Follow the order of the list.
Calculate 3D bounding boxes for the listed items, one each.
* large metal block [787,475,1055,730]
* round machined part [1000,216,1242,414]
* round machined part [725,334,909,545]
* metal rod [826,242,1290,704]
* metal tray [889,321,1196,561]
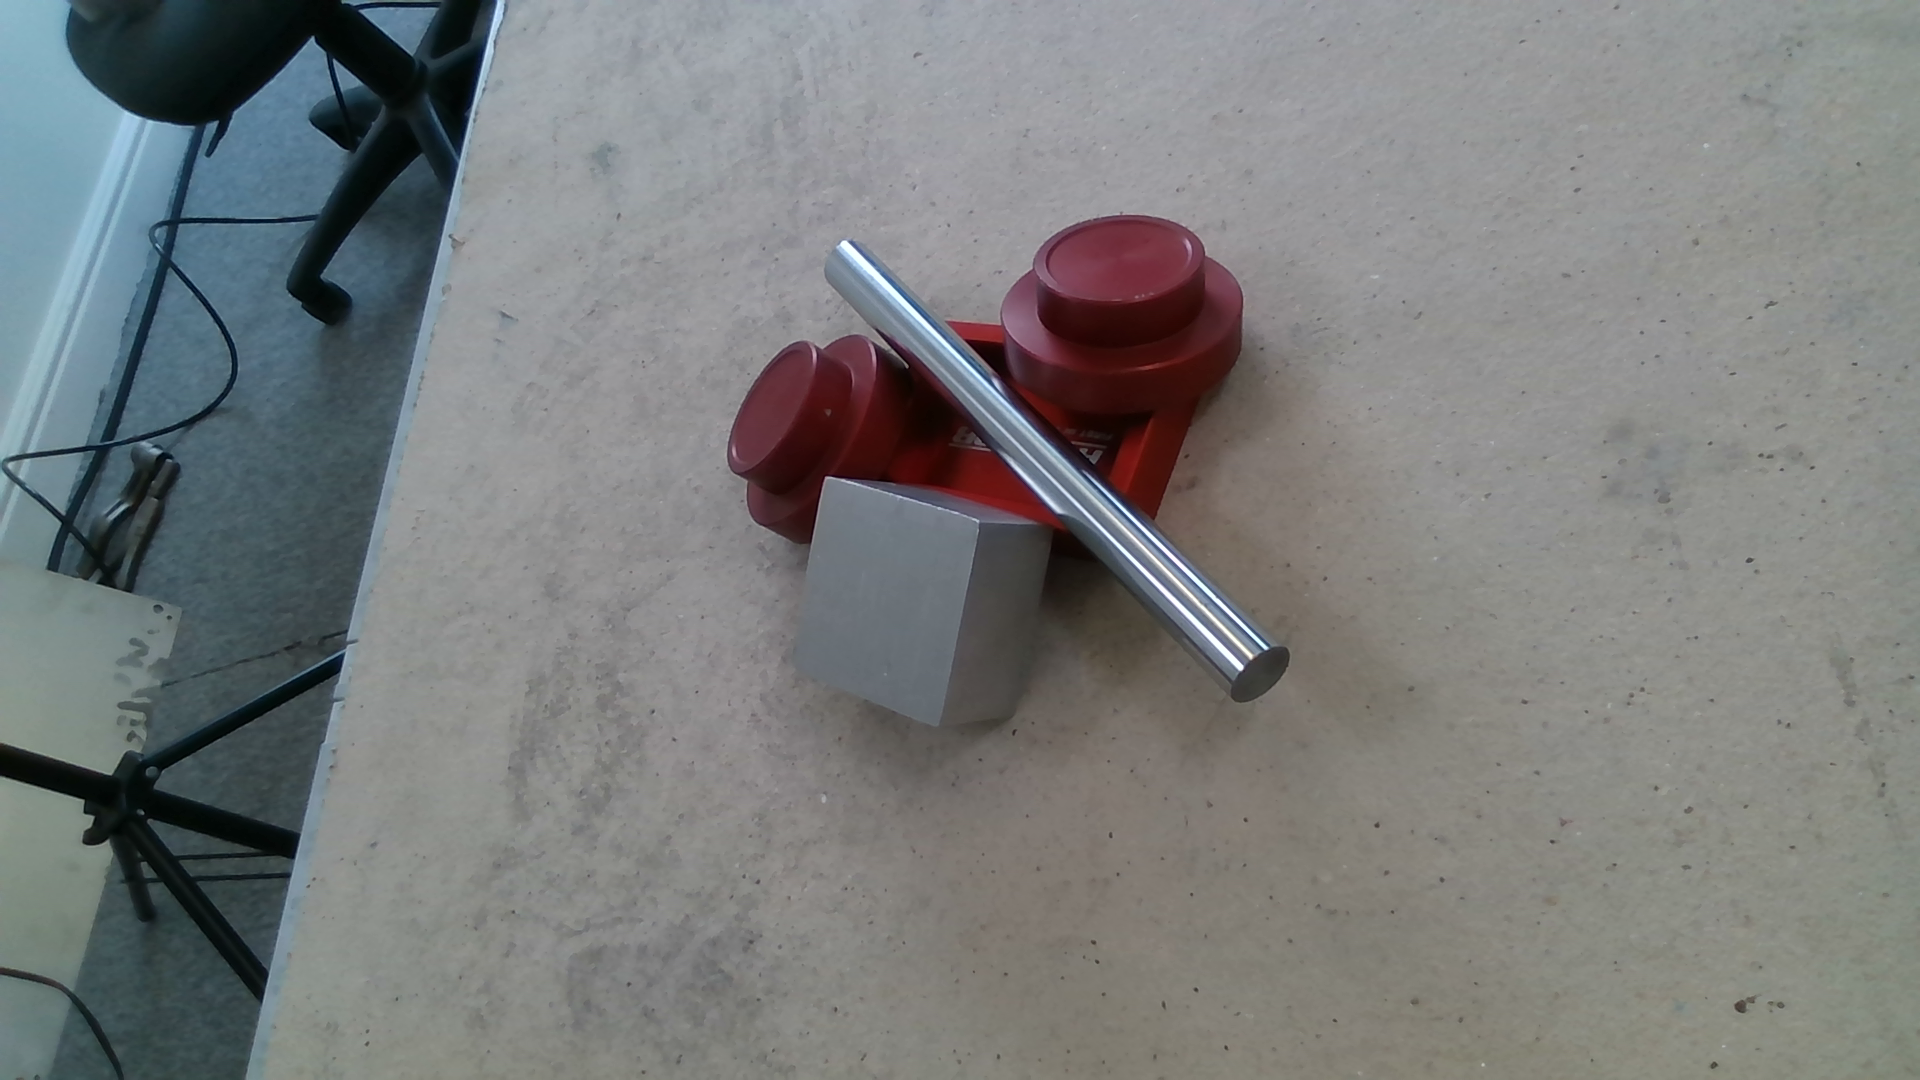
[{"bbox_3d":[-0.016,0.023,0.549,0.080,0.050,0.080,17,99,36],"label":"large metal block"},{"bbox_3d":[0.065,-0.097,0.561,0.098,0.042,0.098,-5,41,5],"label":"round machined part"},{"bbox_3d":[-0.070,-0.051,0.623,0.098,0.042,0.098,-35,40,36],"label":"round machined part"},{"bbox_3d":[0.024,-0.042,0.556,0.025,0.025,0.299,-44,51,4],"label":"metal rod"},{"bbox_3d":[0.028,-0.045,0.589,0.130,0.030,0.090,11,72,35],"label":"metal tray"}]
